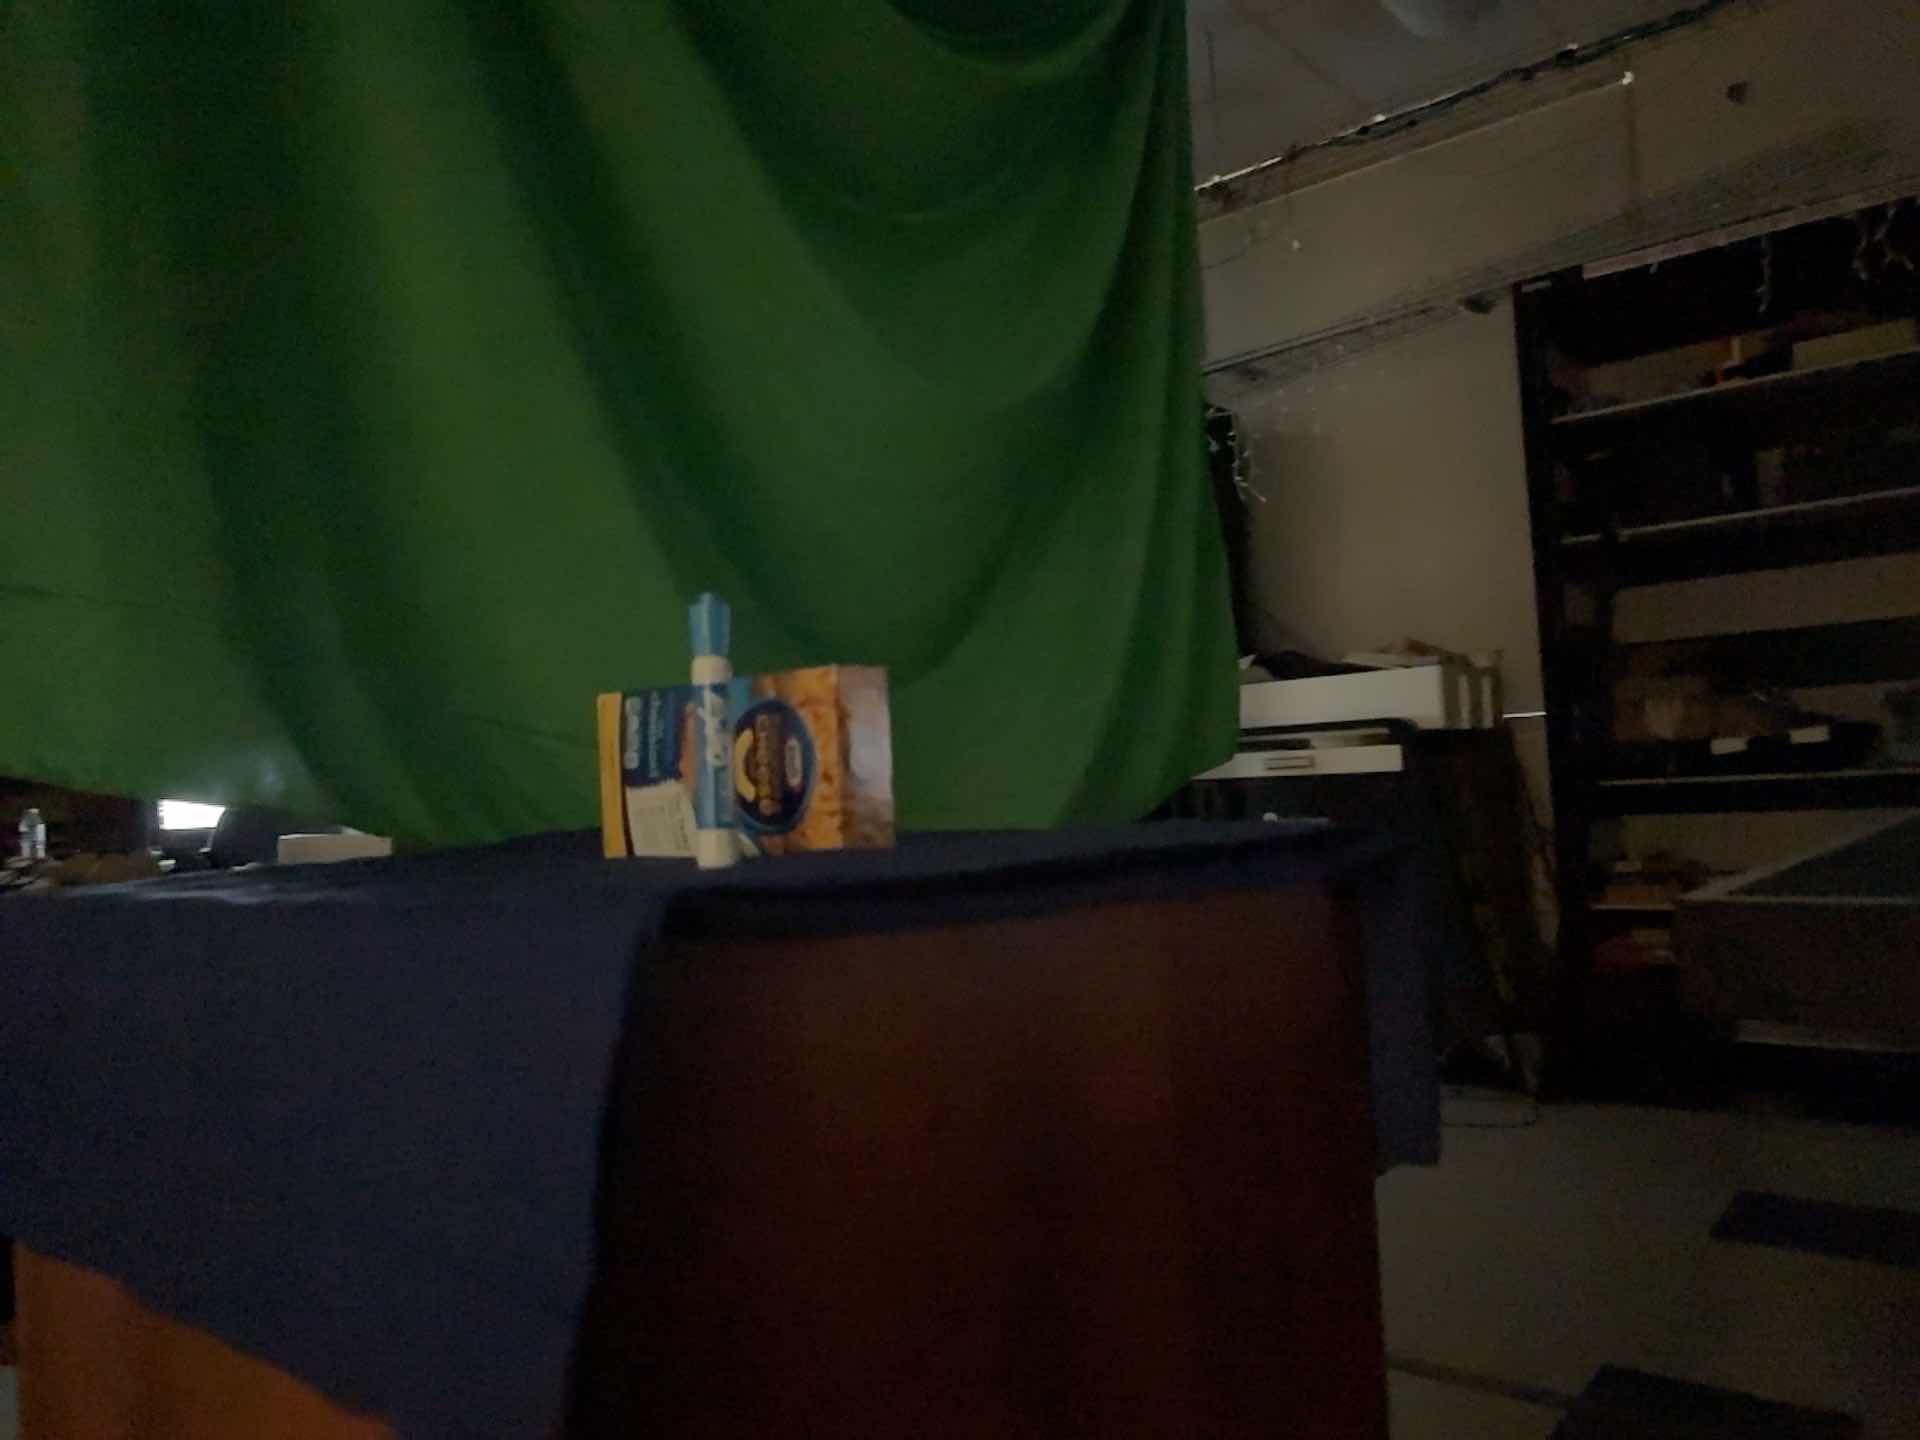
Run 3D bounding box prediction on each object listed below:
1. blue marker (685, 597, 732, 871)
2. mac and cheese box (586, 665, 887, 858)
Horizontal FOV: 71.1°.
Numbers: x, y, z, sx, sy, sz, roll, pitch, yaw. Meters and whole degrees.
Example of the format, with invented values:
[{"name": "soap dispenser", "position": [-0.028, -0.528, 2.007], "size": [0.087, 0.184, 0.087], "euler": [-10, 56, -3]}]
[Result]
[{"name": "blue marker", "position": [-0.112, 0.006, 0.600], "size": [0.020, 0.121, 0.020], "euler": [-1, -2, 0]}, {"name": "mac and cheese box", "position": [-0.121, 0.025, 0.694], "size": [0.181, 0.088, 0.035], "euler": [-5, -4, 38]}]
